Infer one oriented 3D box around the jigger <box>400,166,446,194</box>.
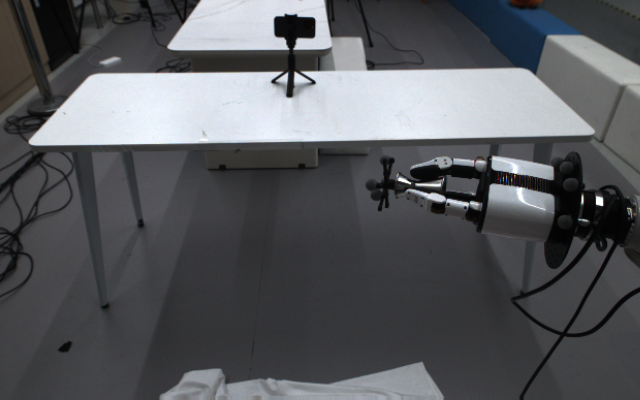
[{"bbox_3d":[0.153,-0.025,0.704,0.071,0.043,0.043,6,34,21],"label":"jigger"}]
